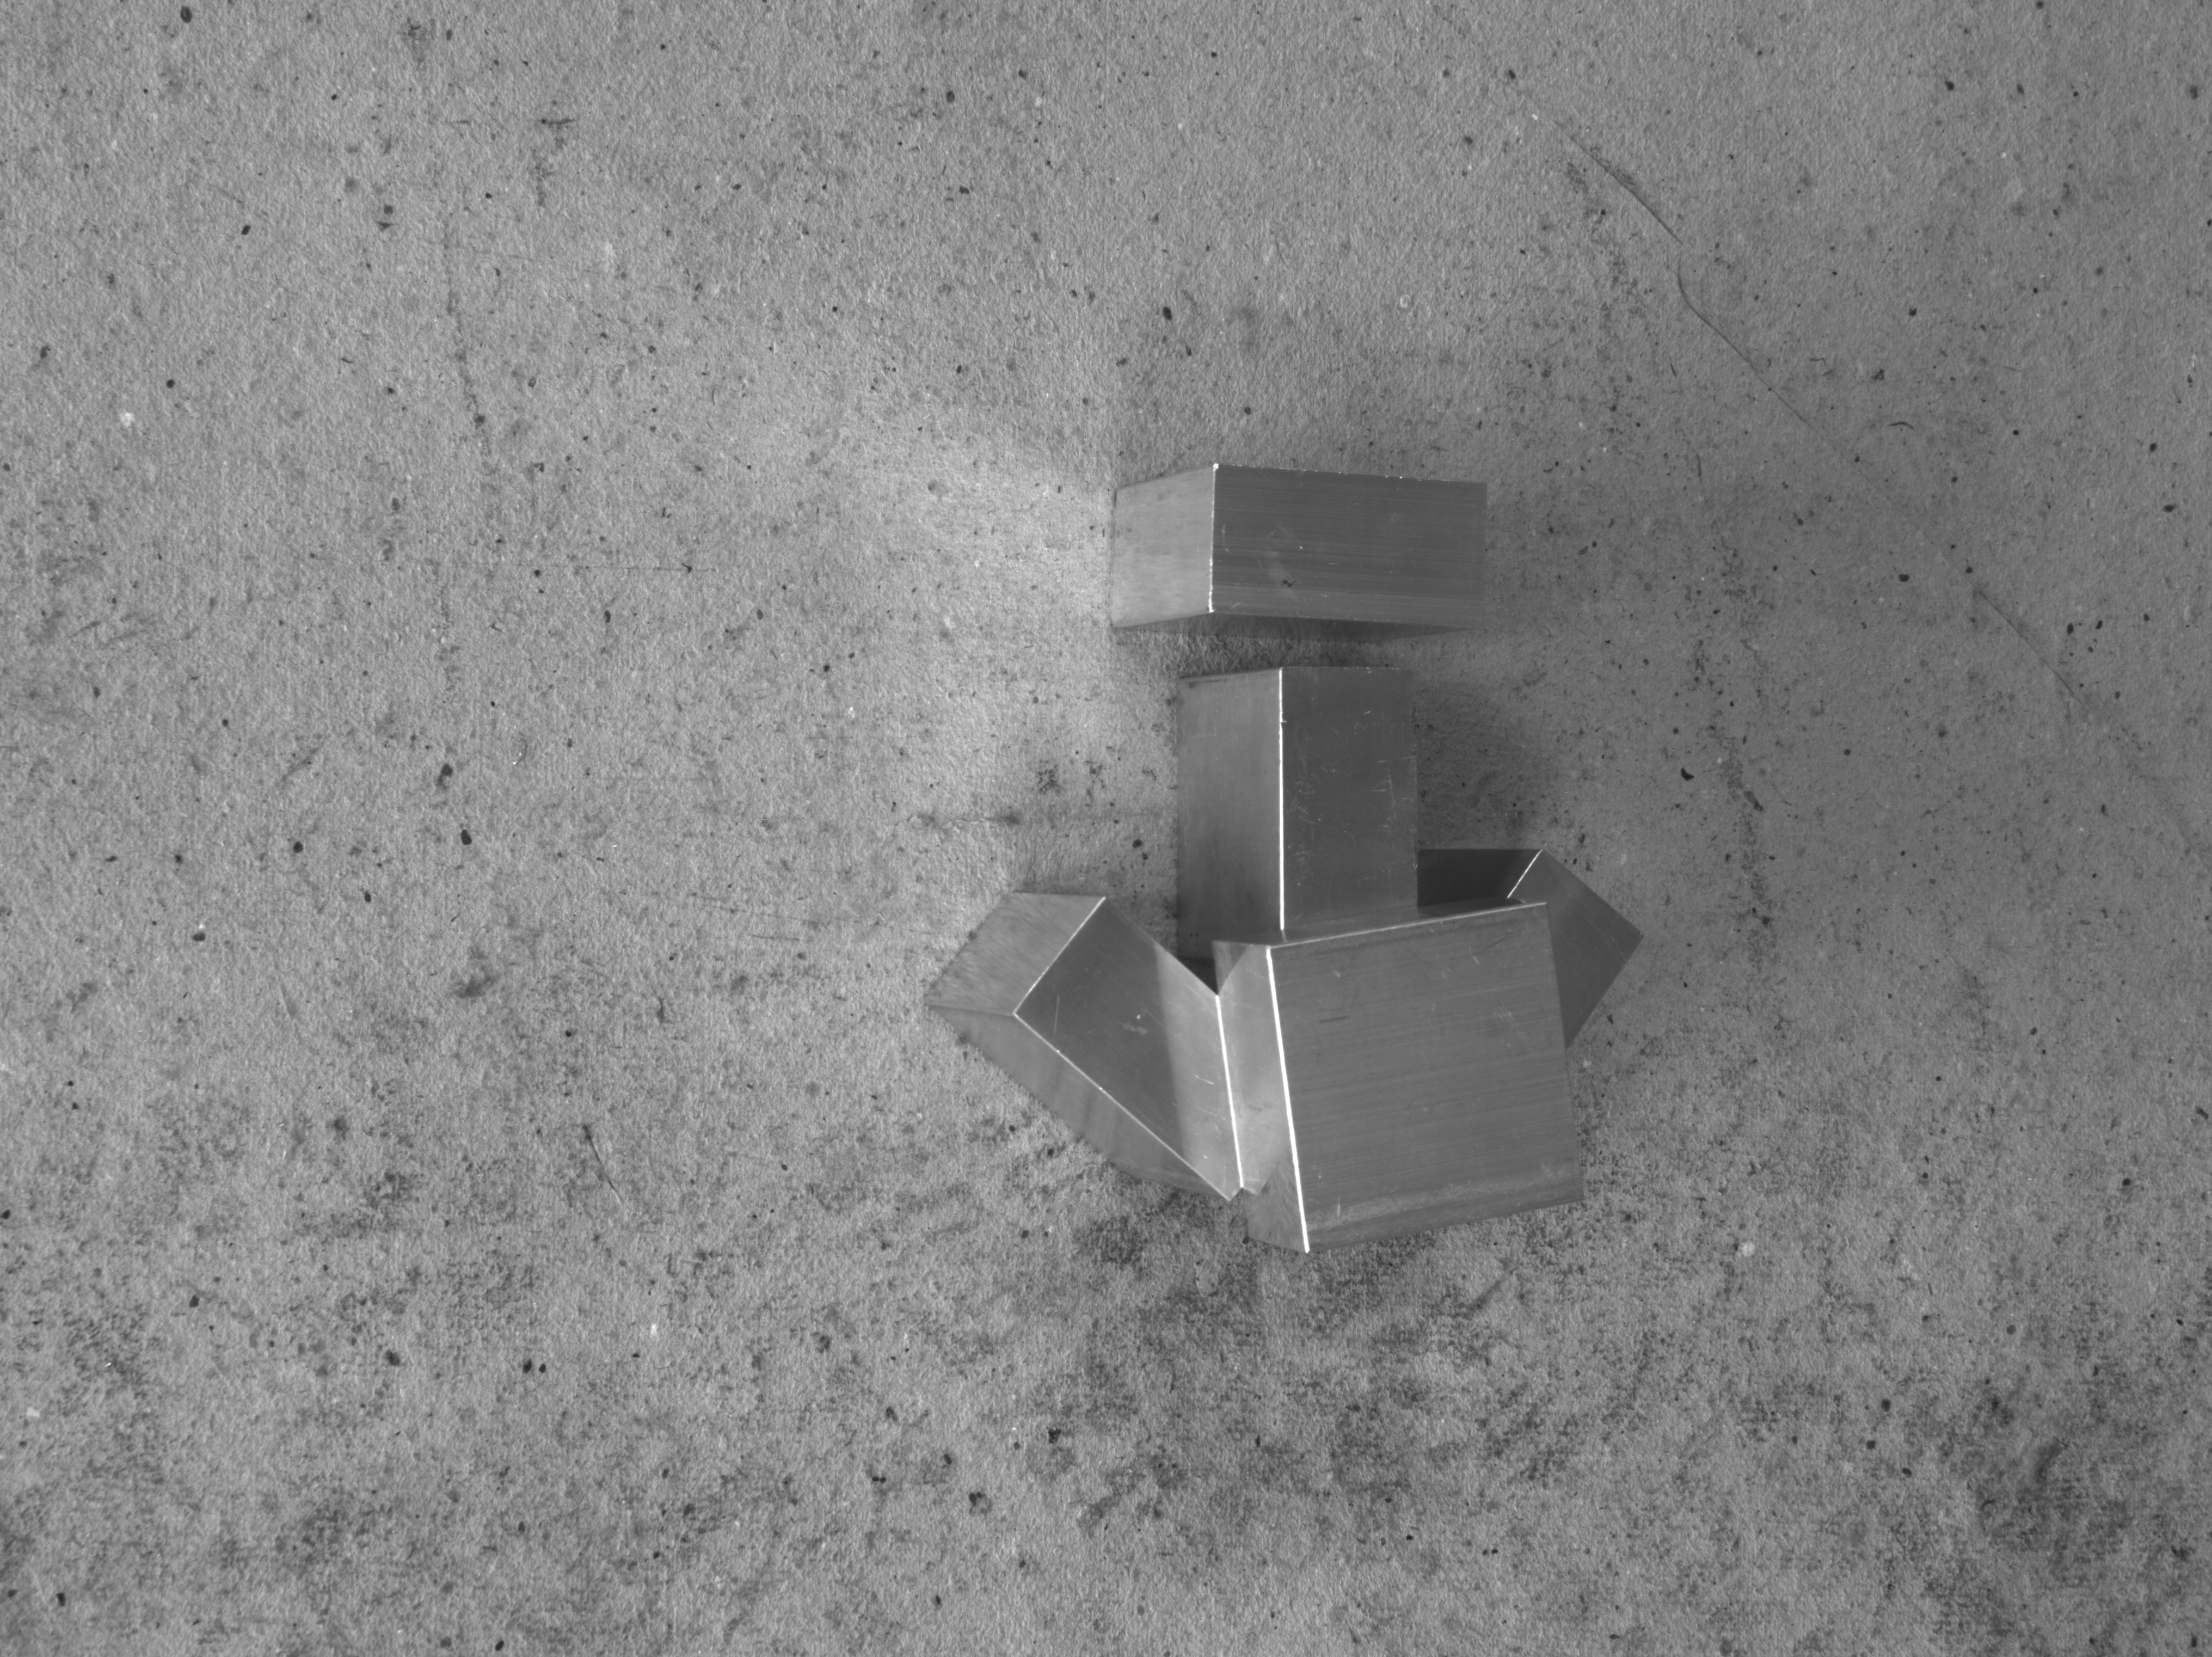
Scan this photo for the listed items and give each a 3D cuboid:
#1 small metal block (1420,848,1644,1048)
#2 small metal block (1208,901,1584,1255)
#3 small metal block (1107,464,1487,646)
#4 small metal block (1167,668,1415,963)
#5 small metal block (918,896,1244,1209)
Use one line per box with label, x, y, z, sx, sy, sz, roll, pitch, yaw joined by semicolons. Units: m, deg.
small metal block;0.061;0.031;0.653;0.025;0.050;0.050;39;78;-15
small metal block;0.048;0.040;0.609;0.050;0.025;0.050;-8;92;-19
small metal block;0.032;-0.047;0.642;0.050;0.050;0.025;2;89;-20
small metal block;0.032;-0.002;0.643;0.025;0.050;0.050;-1;90;-20
small metal block;0.001;0.037;0.630;0.050;0.050;0.025;42;76;-16
